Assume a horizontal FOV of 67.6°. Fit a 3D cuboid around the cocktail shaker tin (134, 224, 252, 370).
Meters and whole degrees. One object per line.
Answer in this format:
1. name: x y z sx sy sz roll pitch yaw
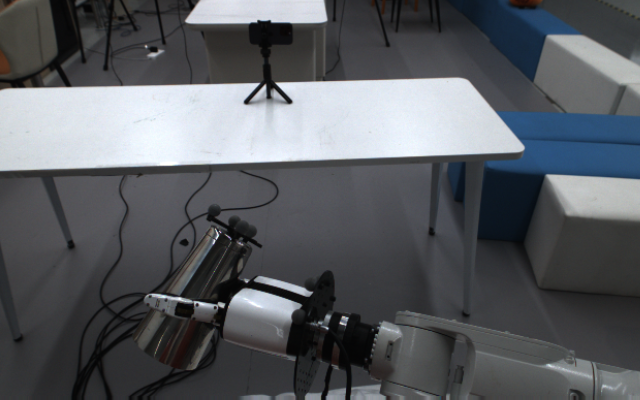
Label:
1. cocktail shaker tin: -0.159 0.120 0.638 0.093 0.093 0.170 26 84 31
